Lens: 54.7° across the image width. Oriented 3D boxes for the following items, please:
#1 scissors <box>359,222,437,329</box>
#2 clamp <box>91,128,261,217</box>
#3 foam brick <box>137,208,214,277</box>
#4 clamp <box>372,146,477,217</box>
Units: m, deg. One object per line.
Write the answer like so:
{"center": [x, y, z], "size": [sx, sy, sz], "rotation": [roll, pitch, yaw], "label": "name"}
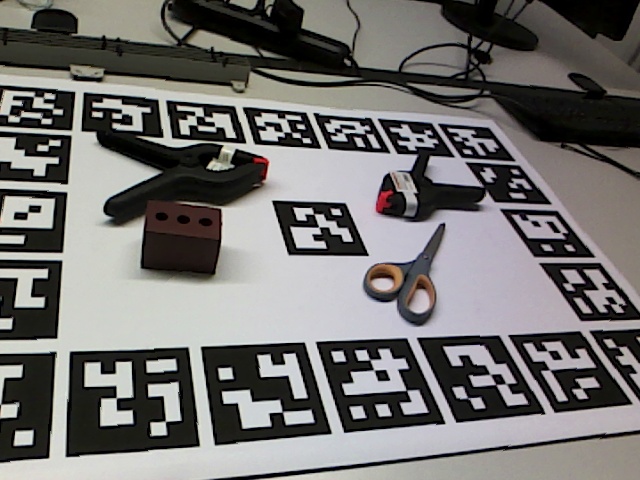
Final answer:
{"center": [0.112, 0.026, 0.751], "size": [0.088, 0.016, 0.202], "rotation": [32, 39, 5], "label": "scissors"}
{"center": [-0.172, -0.086, 0.766], "size": [0.202, 0.036, 0.166], "rotation": [-2, 40, -23], "label": "clamp"}
{"center": [-0.153, 0.003, 0.662], "size": [0.078, 0.051, 0.053], "rotation": [3, 43, -11], "label": "foam brick"}
{"center": [0.135, -0.074, 0.872], "size": [0.164, 0.036, 0.122], "rotation": [-24, 62, -38], "label": "clamp"}
